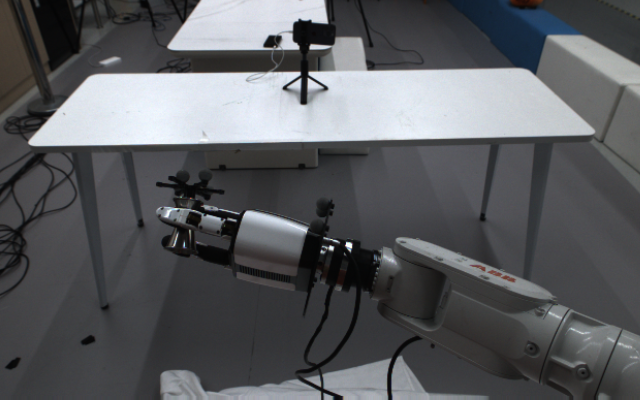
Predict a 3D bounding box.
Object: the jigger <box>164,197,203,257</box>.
[{"bbox_3d":[-0.177,0.033,0.634,0.043,0.043,0.071,4,75,2],"label":"jigger"}]
